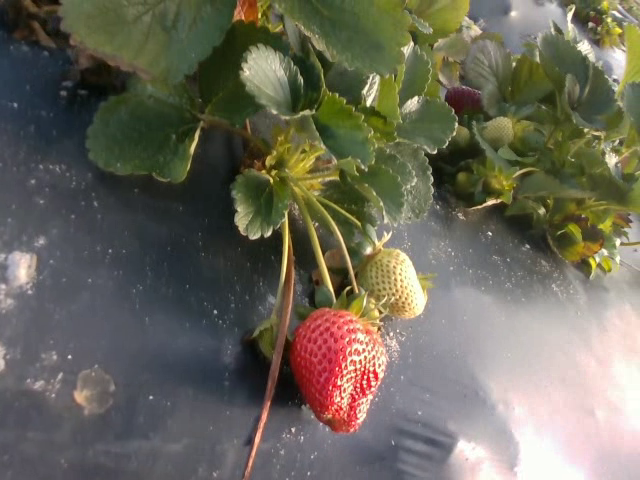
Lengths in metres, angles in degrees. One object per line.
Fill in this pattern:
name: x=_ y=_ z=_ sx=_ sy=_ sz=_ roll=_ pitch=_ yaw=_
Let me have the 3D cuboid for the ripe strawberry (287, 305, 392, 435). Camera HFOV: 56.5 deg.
ripe strawberry: x=0.013 y=0.054 z=0.240 sx=0.047 sy=0.050 sz=0.034 roll=22 pitch=-27 yaw=-26
